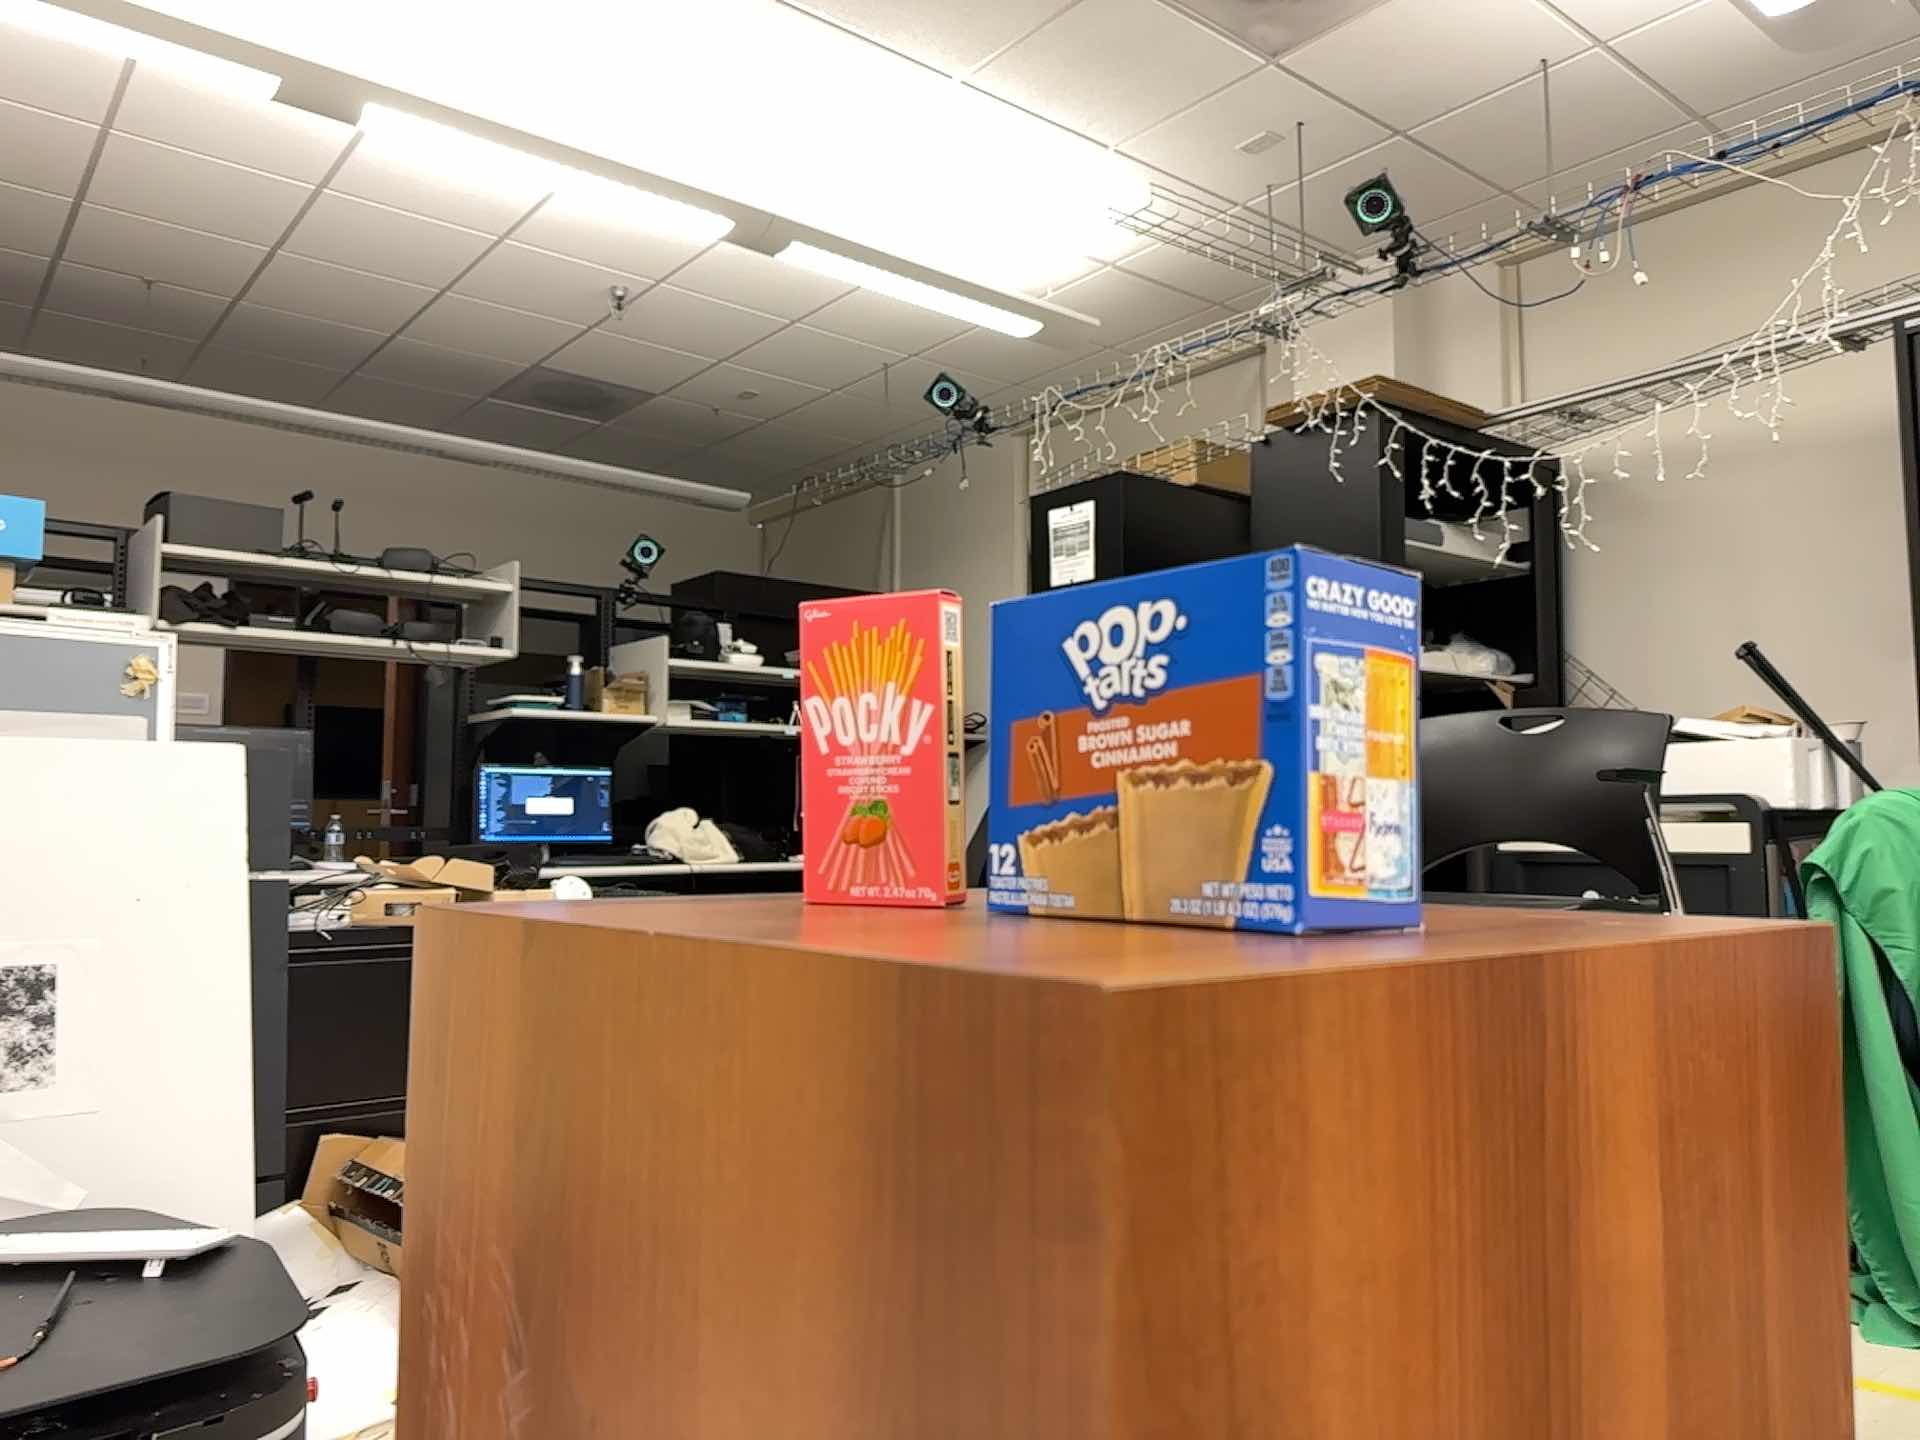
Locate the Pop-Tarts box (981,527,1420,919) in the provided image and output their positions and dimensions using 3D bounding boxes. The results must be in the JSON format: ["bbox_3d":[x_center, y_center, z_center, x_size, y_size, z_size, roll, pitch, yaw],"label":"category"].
[{"bbox_3d":[0.093,0.009,0.558,0.075,0.135,0.161,7,-9,-40],"label":"Pop-Tarts box"}]

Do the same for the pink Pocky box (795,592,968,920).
[{"bbox_3d":[-0.039,0.019,0.658,0.084,0.155,0.029,-4,-6,29],"label":"pink Pocky box"}]
